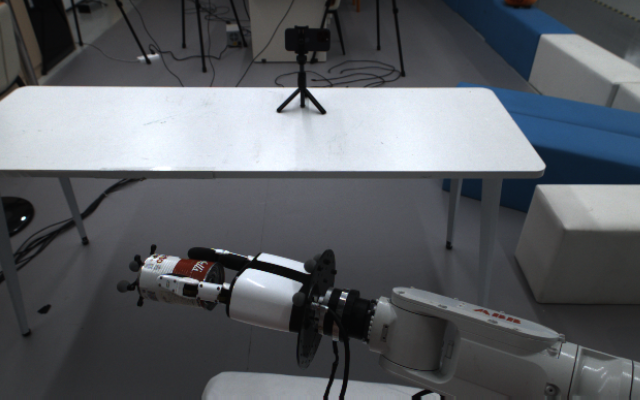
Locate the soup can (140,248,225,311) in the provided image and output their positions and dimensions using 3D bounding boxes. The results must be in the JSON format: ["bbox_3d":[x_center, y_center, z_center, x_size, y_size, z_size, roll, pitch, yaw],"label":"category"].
[{"bbox_3d":[-0.193,0.117,0.683,0.101,0.067,0.067,6,35,12],"label":"soup can"}]
